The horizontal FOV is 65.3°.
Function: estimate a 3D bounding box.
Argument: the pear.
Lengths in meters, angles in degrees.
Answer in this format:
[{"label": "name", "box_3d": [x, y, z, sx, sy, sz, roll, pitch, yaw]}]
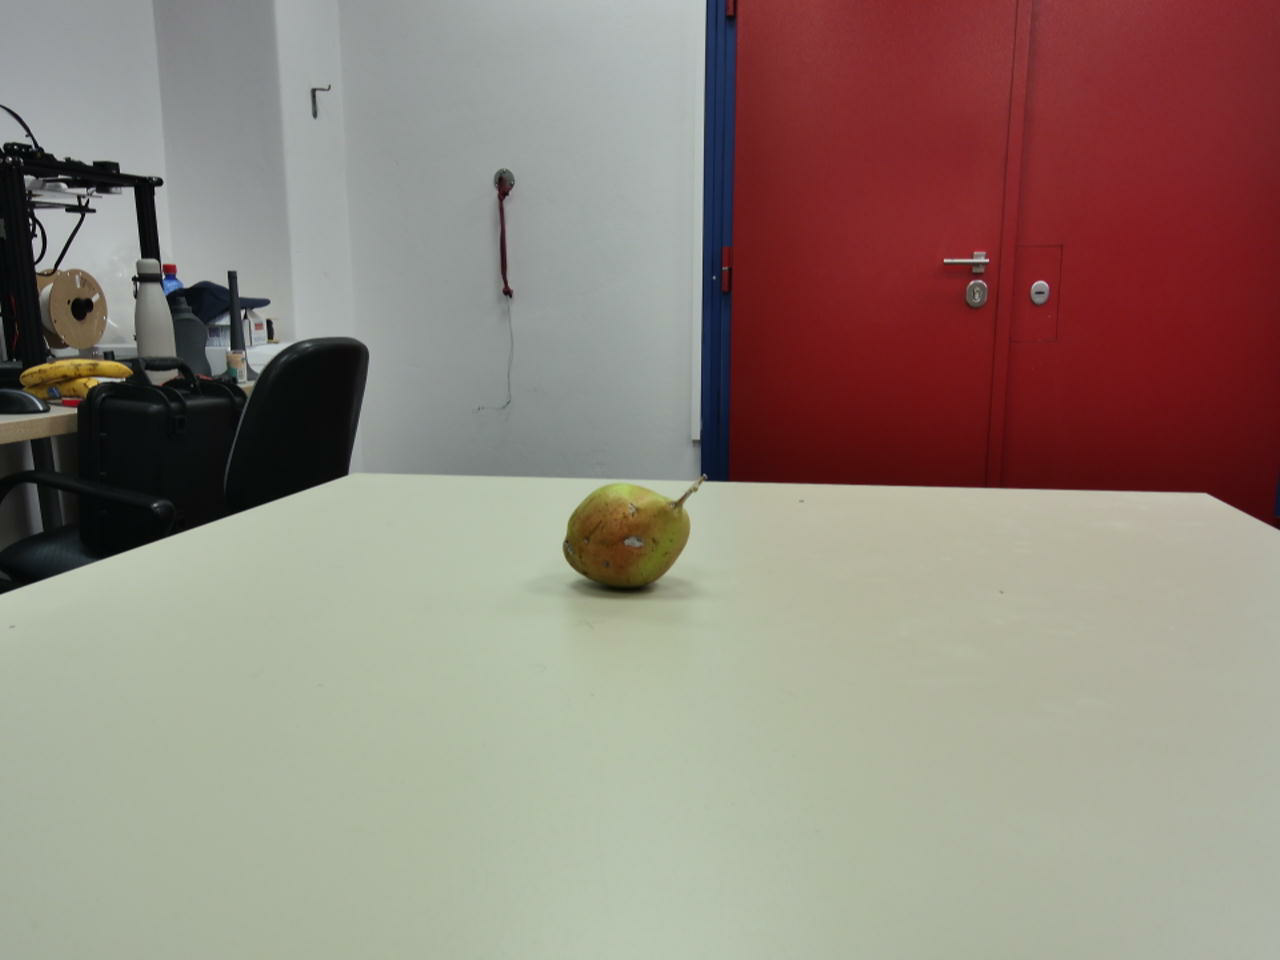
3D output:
[{"label": "pear", "box_3d": [-0.008, 0.030, 0.593, 0.068, 0.069, 0.070, -3, 8, -27]}]
